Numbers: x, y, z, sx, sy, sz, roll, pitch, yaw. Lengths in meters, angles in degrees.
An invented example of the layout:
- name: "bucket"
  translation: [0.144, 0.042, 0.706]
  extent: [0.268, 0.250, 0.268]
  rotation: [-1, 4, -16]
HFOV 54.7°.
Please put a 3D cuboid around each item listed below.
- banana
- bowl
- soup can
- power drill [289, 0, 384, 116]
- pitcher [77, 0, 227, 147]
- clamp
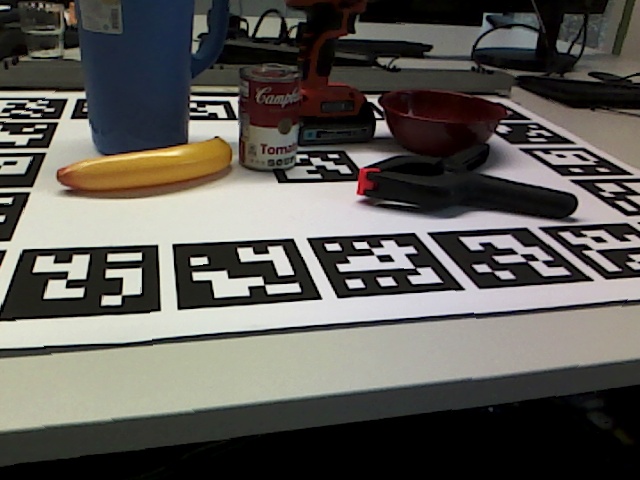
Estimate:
- name: "banana"
  translation: [-0.168, -0.083, 0.629]
  extent: [0.196, 0.039, 0.075]
  rotation: [-17, 28, -37]
- name: "bowl"
  translation: [0.147, -0.156, 0.787]
  extent: [0.161, 0.055, 0.162]
  rotation: [4, 31, -3]
- name: "soup can"
  translation: [-0.059, -0.143, 0.686]
  extent: [0.068, 0.102, 0.068]
  rotation: [2, 21, -1]
- name: "power drill"
  translation: [0.035, -0.252, 0.768]
  extent: [0.184, 0.186, 0.058]
  rotation: [-5, 31, -19]
- name: "pitcher"
  translation: [-0.185, -0.229, 0.674]
  extent: [0.188, 0.242, 0.134]
  rotation: [-18, 33, -35]
- name: "clamp"
  translation: [0.130, -0.073, 0.641]
  extent: [0.202, 0.036, 0.166]
  rotation: [-5, 34, -17]
